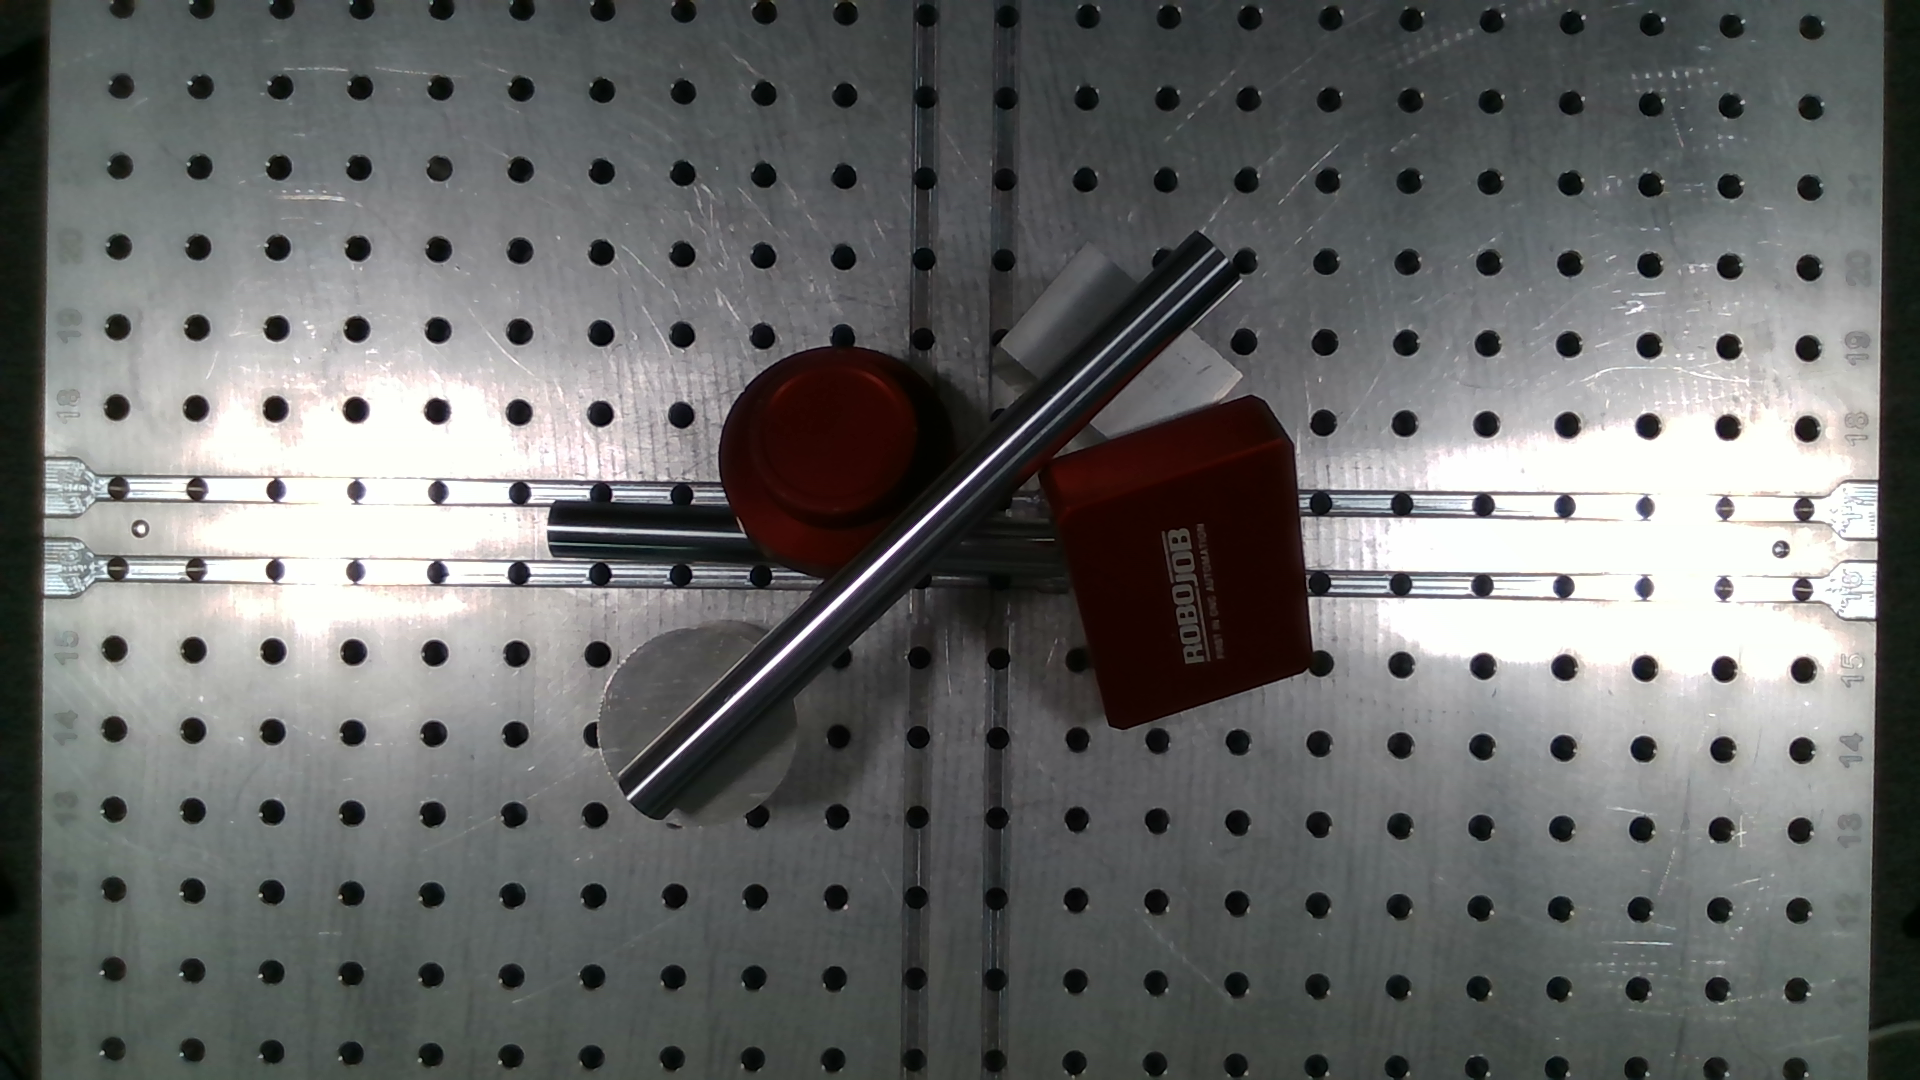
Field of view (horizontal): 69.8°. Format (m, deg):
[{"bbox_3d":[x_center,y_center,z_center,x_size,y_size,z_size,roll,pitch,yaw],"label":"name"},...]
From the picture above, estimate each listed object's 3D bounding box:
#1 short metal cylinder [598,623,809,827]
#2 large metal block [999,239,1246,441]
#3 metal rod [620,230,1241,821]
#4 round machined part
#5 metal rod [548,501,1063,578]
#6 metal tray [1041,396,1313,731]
[{"bbox_3d":[-0.106,0.075,0.578,0.080,0.050,0.080,0,90,0],"label":"short metal cylinder"},{"bbox_3d":[0.062,-0.069,0.562,0.080,0.080,0.050,41,90,0],"label":"large metal block"},{"bbox_3d":[-0.015,-0.001,0.519,0.300,0.025,0.025,-43,90,8],"label":"metal rod"},{"bbox_3d":[-0.051,-0.036,0.565,0.098,0.042,0.098,0,73,0],"label":"round machined part"},{"bbox_3d":[-0.023,0.001,0.589,0.300,0.025,0.025,2,90,0],"label":"metal rod"},{"bbox_3d":[0.089,0.013,0.548,0.090,0.030,0.130,-18,132,0],"label":"metal tray"}]
